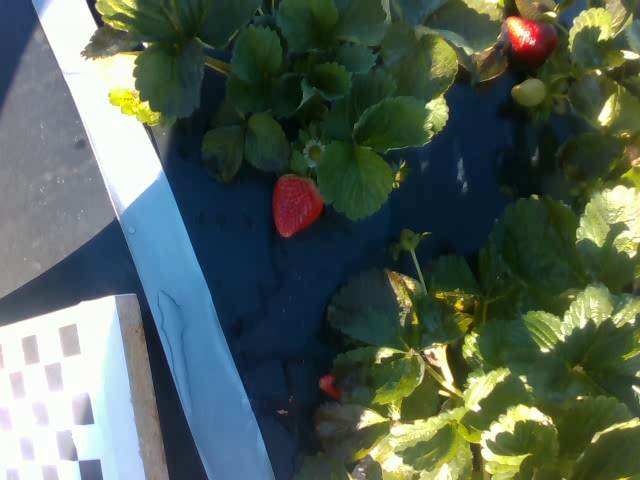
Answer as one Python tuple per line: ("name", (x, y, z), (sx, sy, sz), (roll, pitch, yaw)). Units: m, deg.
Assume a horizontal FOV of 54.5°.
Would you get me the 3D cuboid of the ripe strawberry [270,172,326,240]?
("ripe strawberry", (-0.020, -0.025, 0.468), (0.045, 0.059, 0.042), (15, -11, 30))
